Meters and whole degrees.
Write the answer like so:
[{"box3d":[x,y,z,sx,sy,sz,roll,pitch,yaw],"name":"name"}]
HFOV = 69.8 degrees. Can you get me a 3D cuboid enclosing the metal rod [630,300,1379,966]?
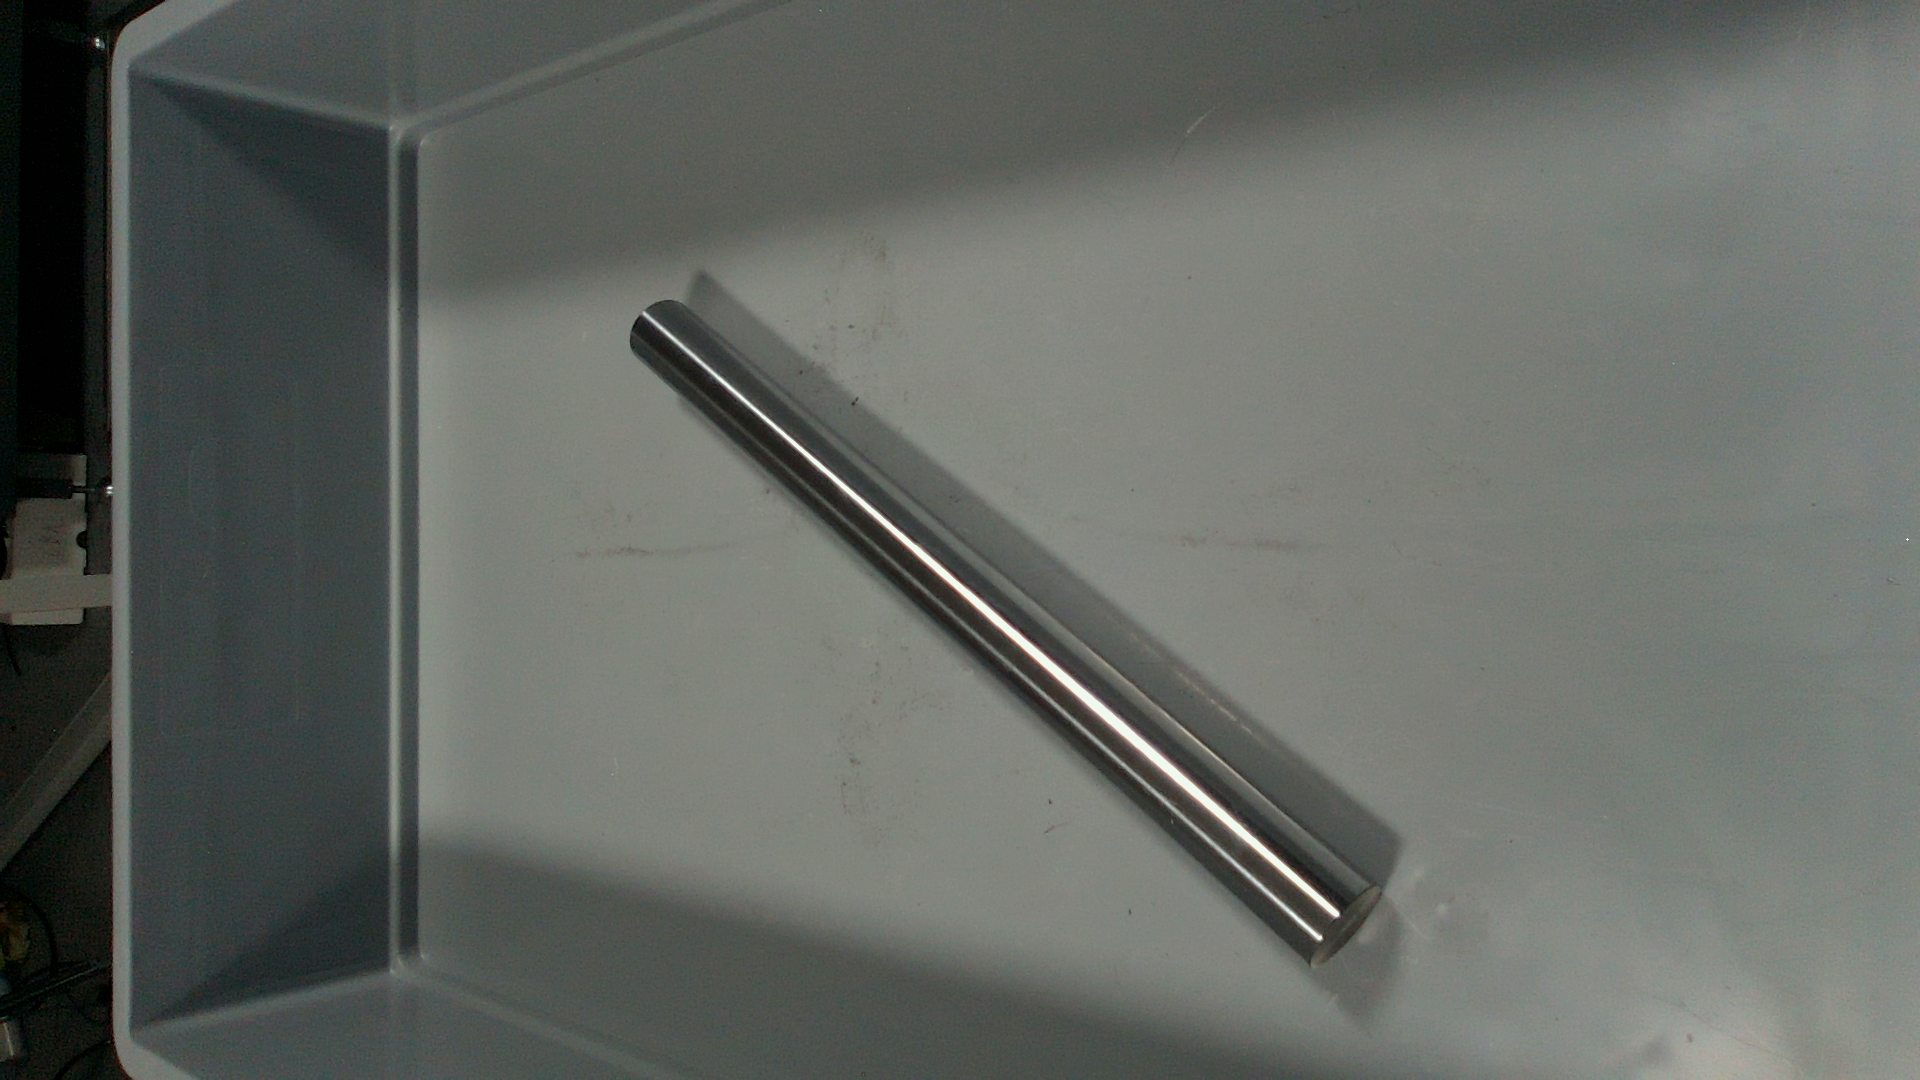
[{"box3d":[-0.008,0.008,0.399,0.299,0.025,0.025,40,115,33],"name":"metal rod"}]
